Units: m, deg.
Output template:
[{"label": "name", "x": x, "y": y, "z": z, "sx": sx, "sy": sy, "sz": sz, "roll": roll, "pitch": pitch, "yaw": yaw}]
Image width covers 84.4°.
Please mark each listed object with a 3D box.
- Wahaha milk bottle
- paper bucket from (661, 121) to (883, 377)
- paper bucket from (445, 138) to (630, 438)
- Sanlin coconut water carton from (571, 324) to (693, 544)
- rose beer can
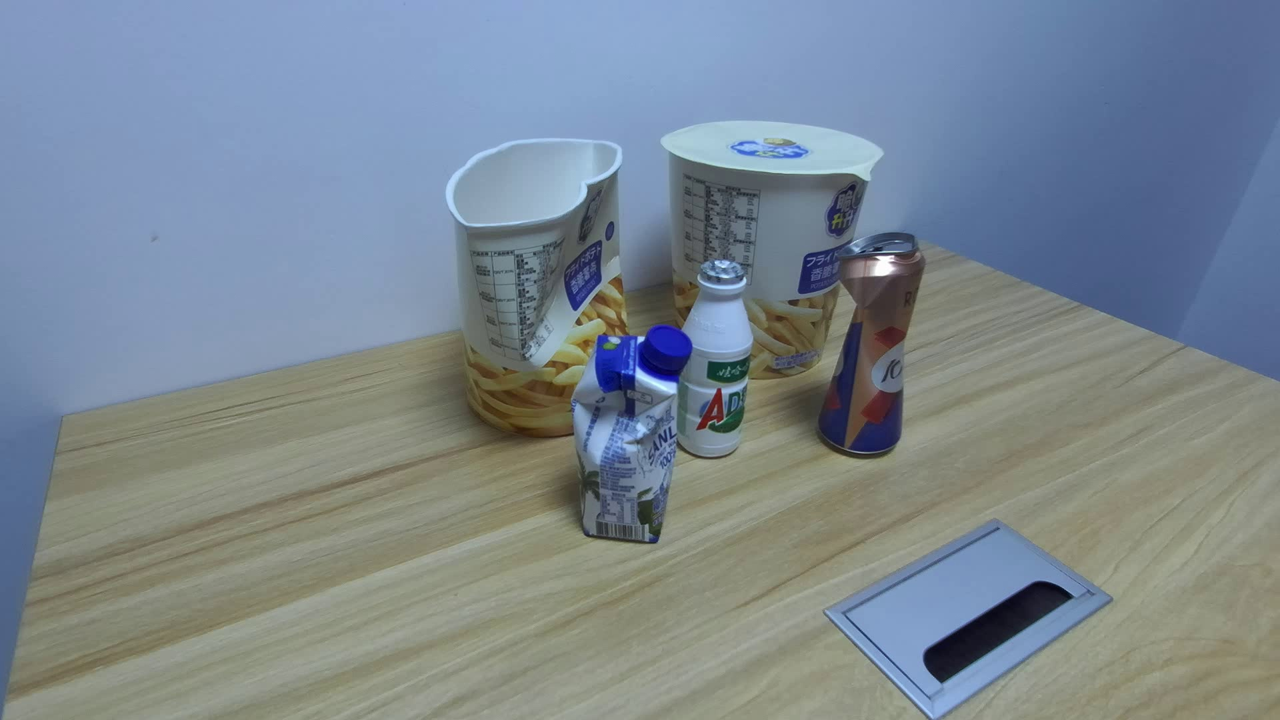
[{"label": "Wahaha milk bottle", "x": 0.055, "y": 0.001, "z": 0.519, "sx": 0.053, "sy": 0.147, "sz": 0.053, "roll": 2, "pitch": 30, "yaw": -1}, {"label": "paper bucket", "x": 0.111, "y": -0.102, "z": 0.652, "sx": 0.198, "sy": 0.195, "sz": 0.198, "roll": 1, "pitch": 30, "yaw": 0}, {"label": "paper bucket", "x": -0.072, "y": -0.061, "z": 0.566, "sx": 0.148, "sy": 0.199, "sz": 0.217, "roll": -6, "pitch": 32, "yaw": -14}, {"label": "Sanlin coconut water carton", "x": -0.007, "y": 0.045, "z": 0.444, "sx": 0.070, "sy": 0.144, "sz": 0.061, "roll": 6, "pitch": 32, "yaw": 5}, {"label": "rose beer can", "x": 0.174, "y": -0.009, "z": 0.529, "sx": 0.070, "sy": 0.168, "sz": 0.069, "roll": -9, "pitch": 28, "yaw": -11}]
